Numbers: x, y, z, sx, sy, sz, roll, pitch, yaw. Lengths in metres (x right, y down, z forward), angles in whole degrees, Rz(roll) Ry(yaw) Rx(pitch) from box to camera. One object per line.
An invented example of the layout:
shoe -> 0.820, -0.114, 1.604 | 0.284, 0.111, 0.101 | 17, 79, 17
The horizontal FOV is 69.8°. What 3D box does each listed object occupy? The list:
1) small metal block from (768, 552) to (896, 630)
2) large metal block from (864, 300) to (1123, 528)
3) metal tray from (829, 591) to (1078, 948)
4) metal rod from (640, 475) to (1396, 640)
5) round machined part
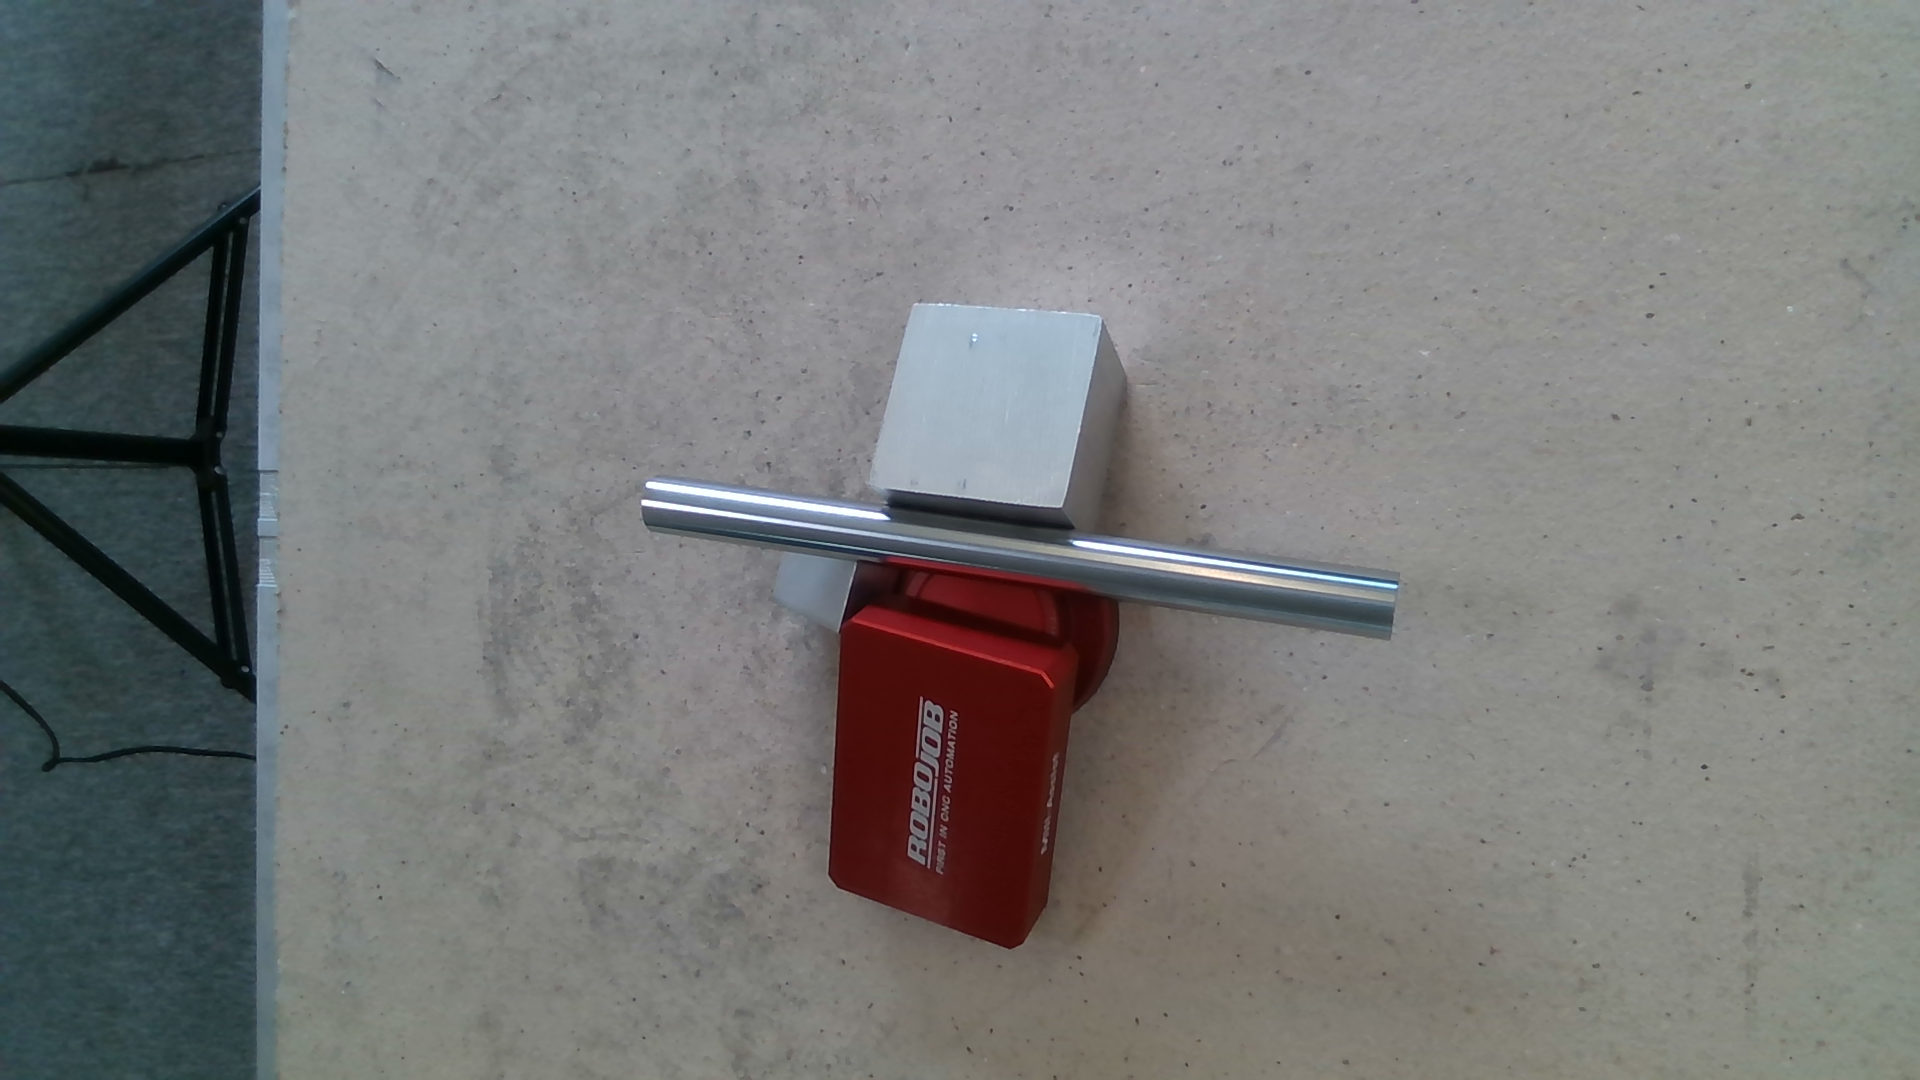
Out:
small metal block -> -0.053, 0.010, 0.595 | 0.050, 0.025, 0.050 | 20, 97, 45
large metal block -> 0.016, -0.046, 0.555 | 0.080, 0.050, 0.080 | 8, 75, 20
metal tray -> -0.005, 0.094, 0.563 | 0.090, 0.030, 0.130 | 14, 116, 20
metal rod -> 0.013, 0.004, 0.537 | 0.300, 0.025, 0.025 | 8, 93, 18
round machined part -> 0.013, 0.034, 0.572 | 0.098, 0.042, 0.098 | 0, 91, 20
